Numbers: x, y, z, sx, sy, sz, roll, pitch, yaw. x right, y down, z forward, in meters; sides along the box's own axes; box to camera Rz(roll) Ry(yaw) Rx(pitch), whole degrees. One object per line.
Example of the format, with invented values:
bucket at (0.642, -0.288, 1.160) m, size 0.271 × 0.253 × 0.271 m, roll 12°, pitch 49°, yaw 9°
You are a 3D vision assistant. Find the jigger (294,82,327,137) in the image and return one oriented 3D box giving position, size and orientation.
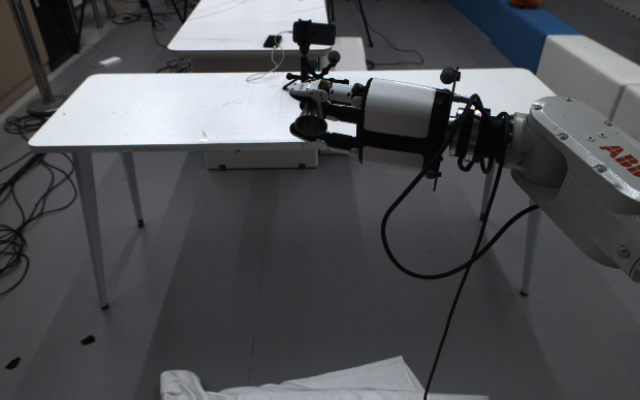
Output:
jigger at (-0.011, -0.128, 0.662) m, size 0.043 × 0.043 × 0.071 m, roll 5°, pitch 60°, yaw 4°
